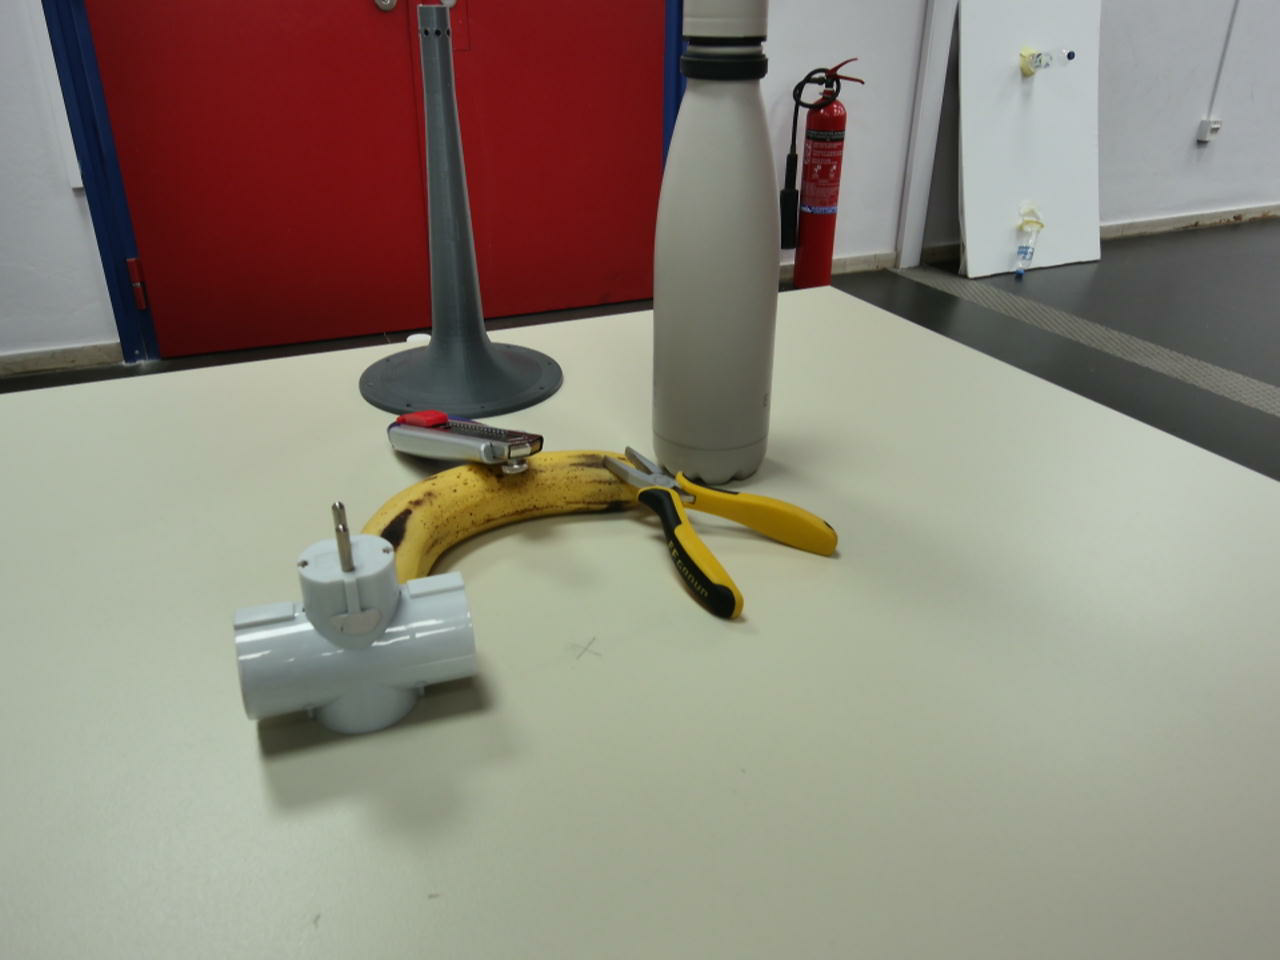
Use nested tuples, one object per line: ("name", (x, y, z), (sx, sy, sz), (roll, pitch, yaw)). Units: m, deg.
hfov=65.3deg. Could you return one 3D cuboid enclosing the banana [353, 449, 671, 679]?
("banana", (-0.074, 0.022, 0.521), (0.097, 0.038, 0.186), (18, 30, 32))
